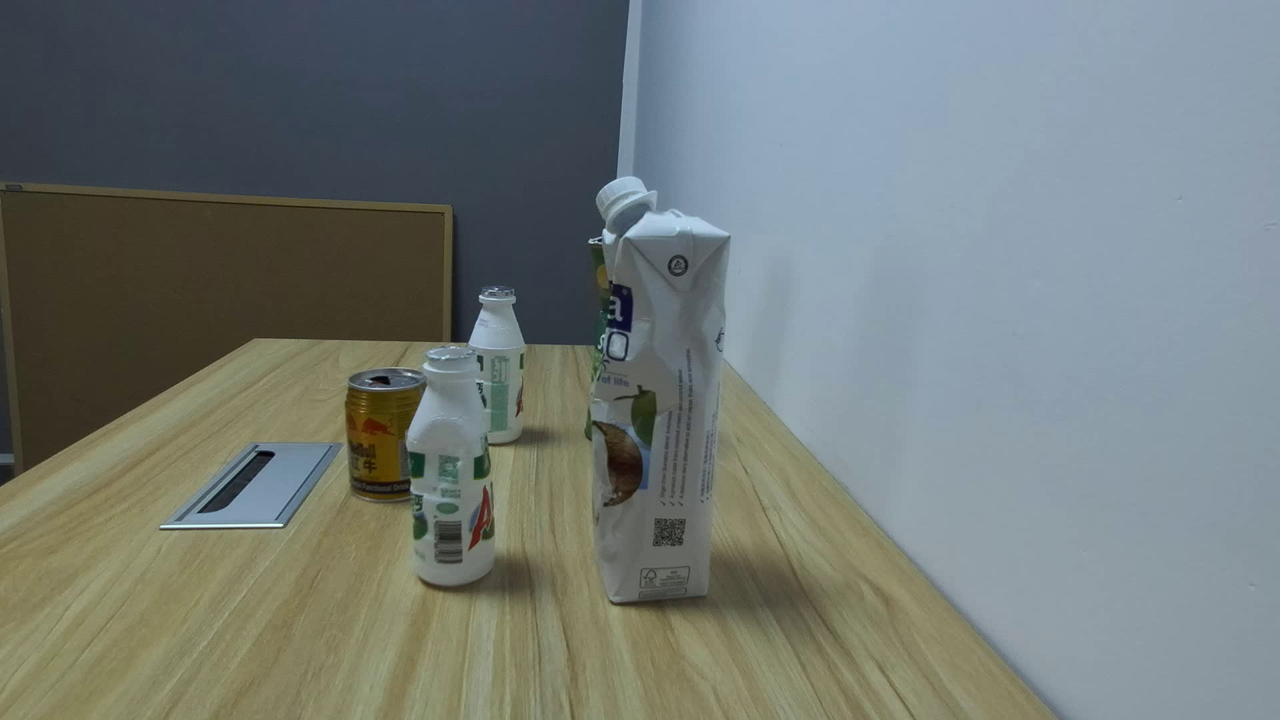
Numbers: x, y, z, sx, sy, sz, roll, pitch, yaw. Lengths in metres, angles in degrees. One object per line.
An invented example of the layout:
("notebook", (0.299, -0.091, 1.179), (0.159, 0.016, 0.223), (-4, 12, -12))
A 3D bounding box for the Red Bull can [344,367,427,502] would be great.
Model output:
("Red Bull can", (-0.200, 0.059, 0.571), (0.067, 0.093, 0.067), (2, 15, 0))

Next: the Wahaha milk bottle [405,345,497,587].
("Wahaha milk bottle", (-0.119, 0.066, 0.448), (0.055, 0.149, 0.055), (2, 15, 0))

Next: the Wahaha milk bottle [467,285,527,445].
("Wahaha milk bottle", (-0.137, 0.005, 0.677), (0.053, 0.147, 0.053), (2, 12, 0))
